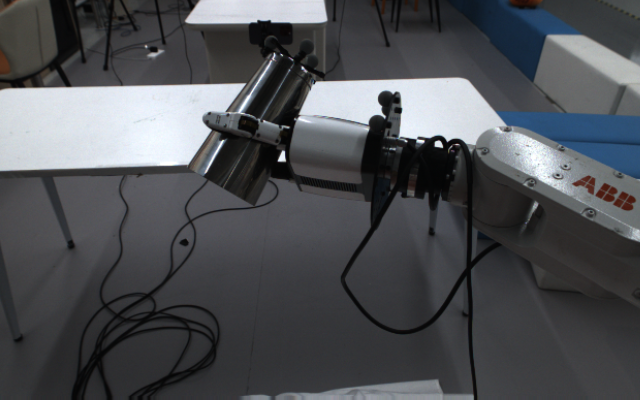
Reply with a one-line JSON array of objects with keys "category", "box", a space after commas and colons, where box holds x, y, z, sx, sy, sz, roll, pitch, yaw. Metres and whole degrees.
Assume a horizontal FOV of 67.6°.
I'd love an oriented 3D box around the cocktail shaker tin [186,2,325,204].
[{"category": "cocktail shaker tin", "box": [-0.077, -0.092, 0.588, 0.093, 0.093, 0.170, 26, 83, 30]}]
